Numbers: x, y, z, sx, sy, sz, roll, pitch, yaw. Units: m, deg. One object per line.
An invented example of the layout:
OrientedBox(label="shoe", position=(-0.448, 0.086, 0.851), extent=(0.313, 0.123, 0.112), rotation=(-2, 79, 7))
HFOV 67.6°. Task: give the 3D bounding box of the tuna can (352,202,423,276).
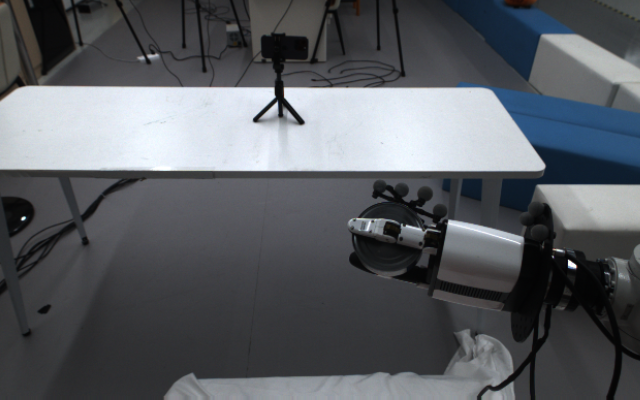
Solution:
OrientedBox(label="tuna can", position=(0.084, 0.044, 0.579), extent=(0.085, 0.034, 0.085), rotation=(-4, 66, 10))
